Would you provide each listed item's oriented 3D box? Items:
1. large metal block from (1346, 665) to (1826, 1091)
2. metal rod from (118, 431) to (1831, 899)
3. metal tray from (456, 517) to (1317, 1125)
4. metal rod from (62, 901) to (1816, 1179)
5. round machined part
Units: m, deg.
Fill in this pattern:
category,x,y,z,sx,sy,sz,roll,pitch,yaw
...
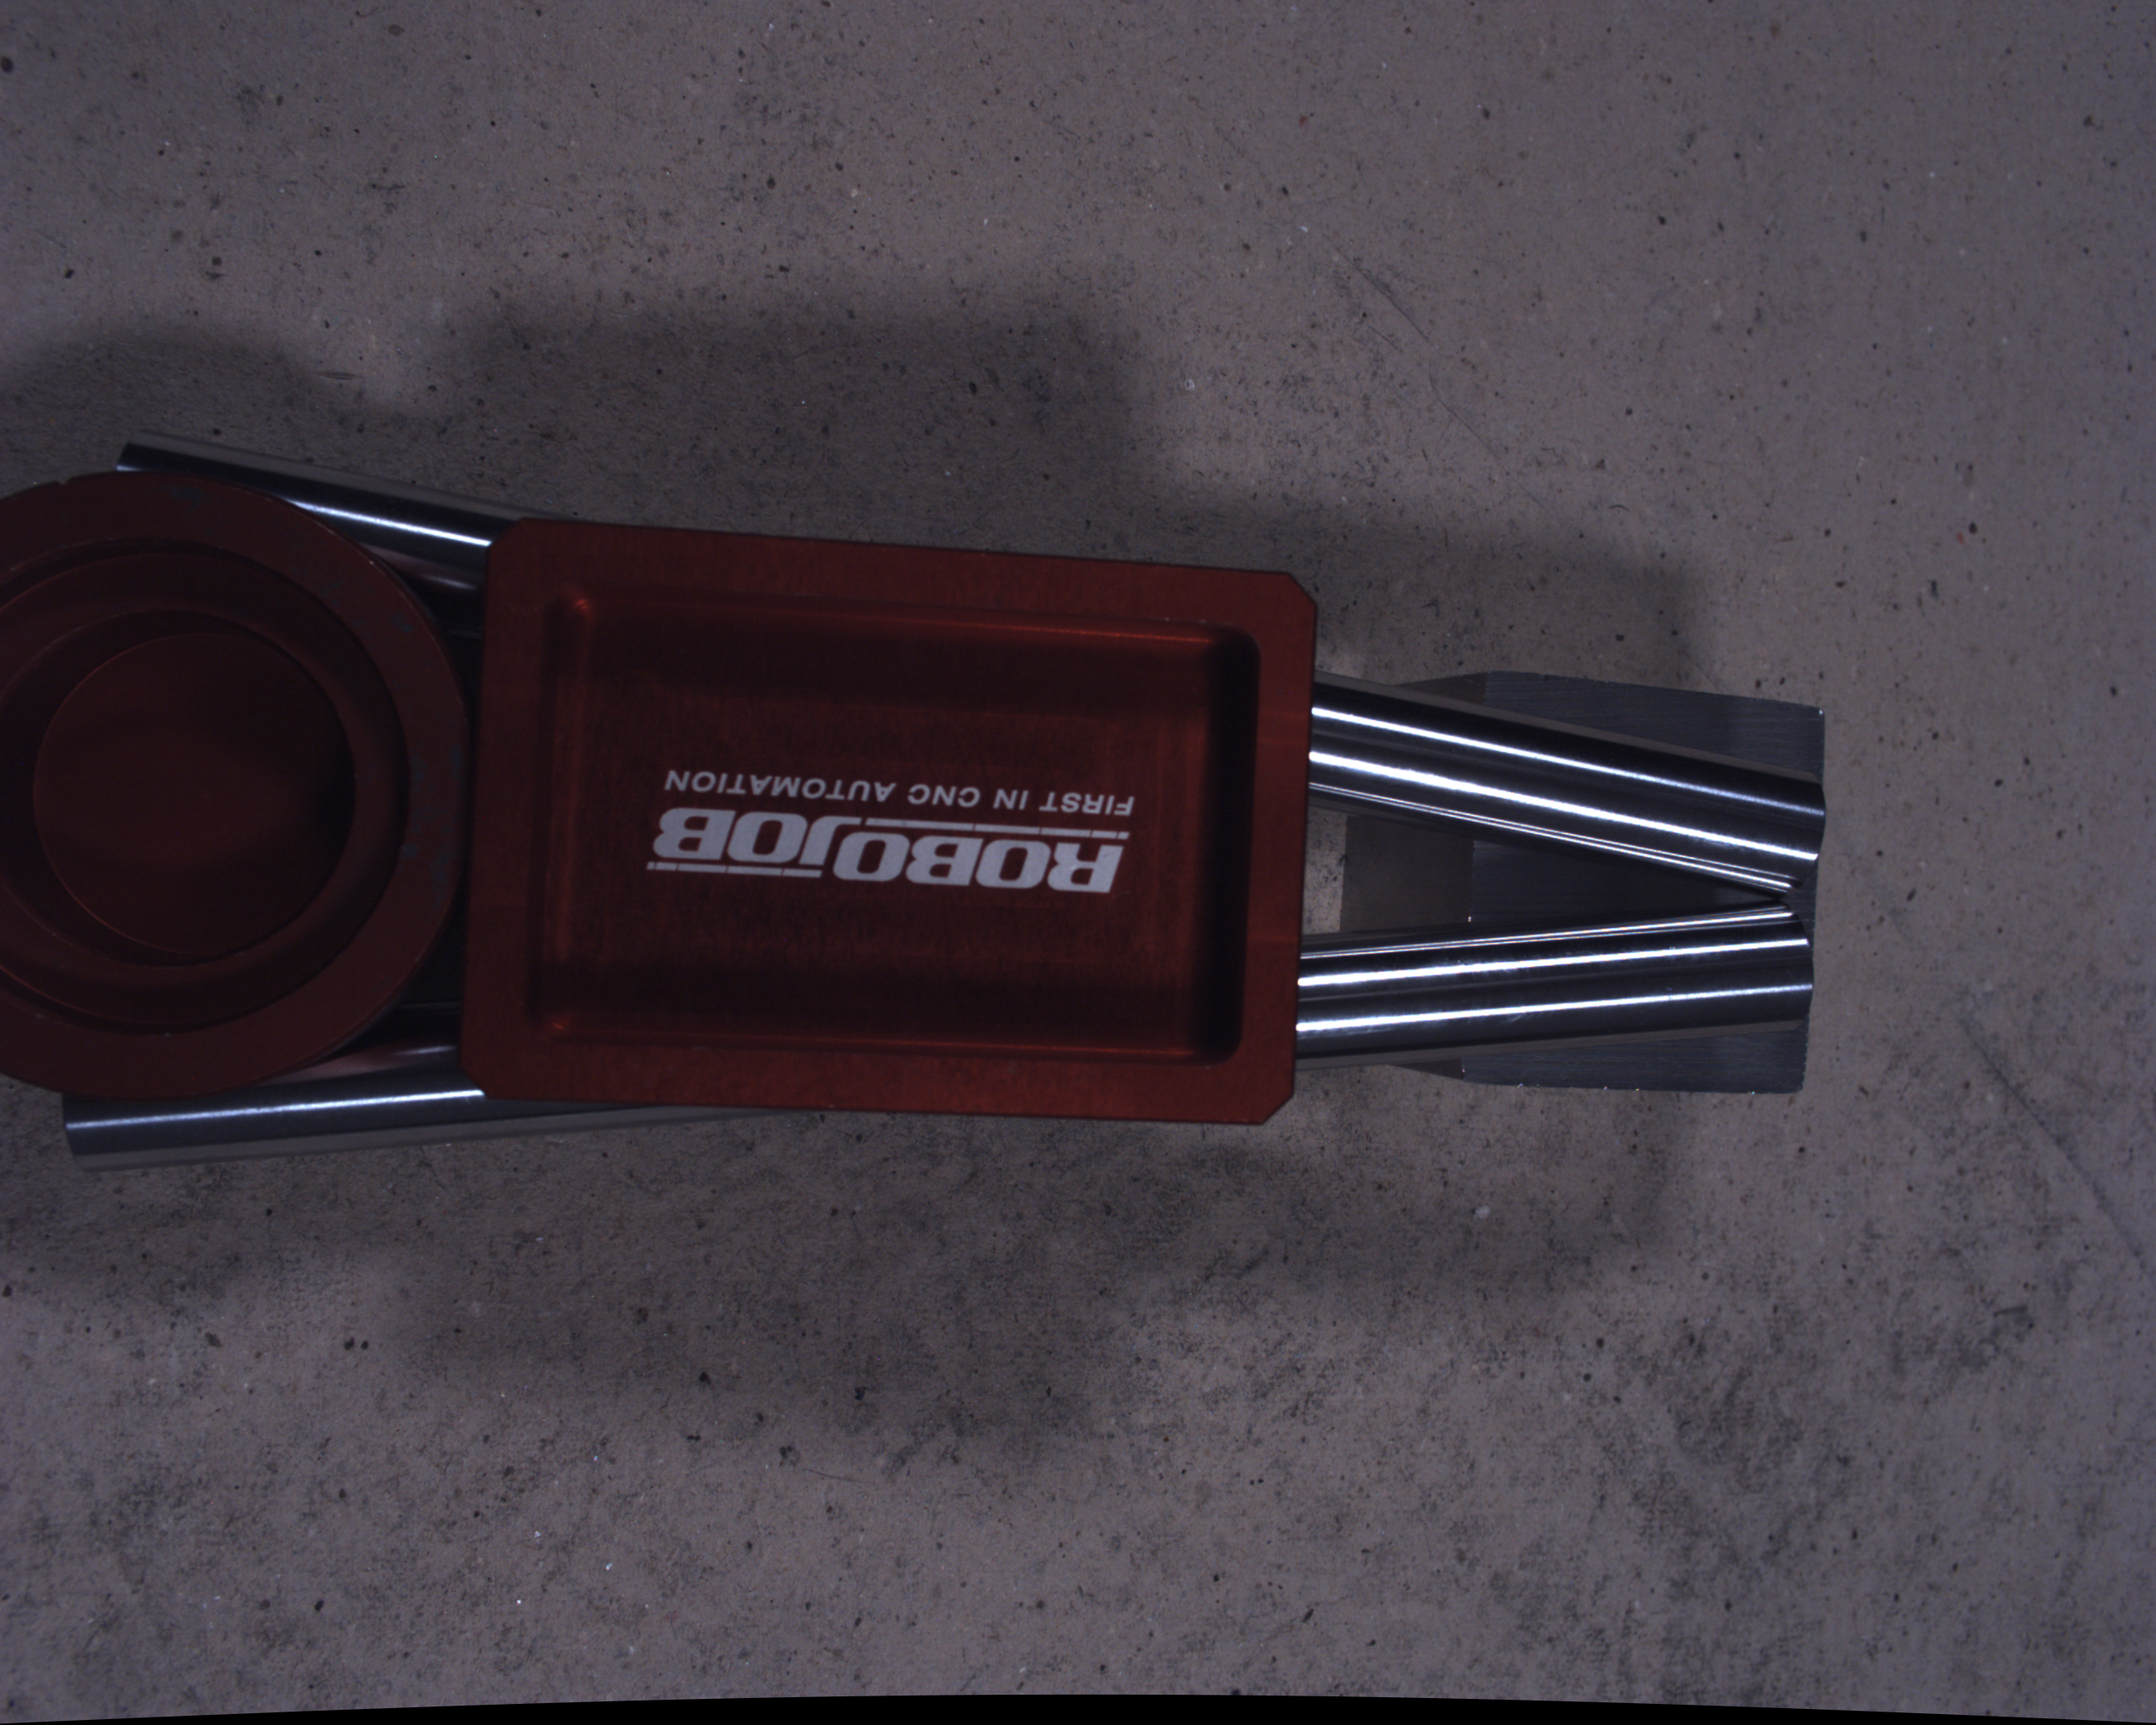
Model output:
category,x,y,z,sx,sy,sz,roll,pitch,yaw
large metal block,0.104,0.004,0.435,0.081,0.050,0.080,4,89,-20
metal rod,-0.012,-0.033,0.372,0.302,0.025,0.025,11,86,-7
metal tray,-0.030,-0.005,0.342,0.131,0.030,0.089,3,89,-8
metal rod,-0.017,0.030,0.371,0.302,0.025,0.025,-4,92,-8
round machined part,-0.146,-0.012,0.342,0.099,0.042,0.097,0,90,-10
